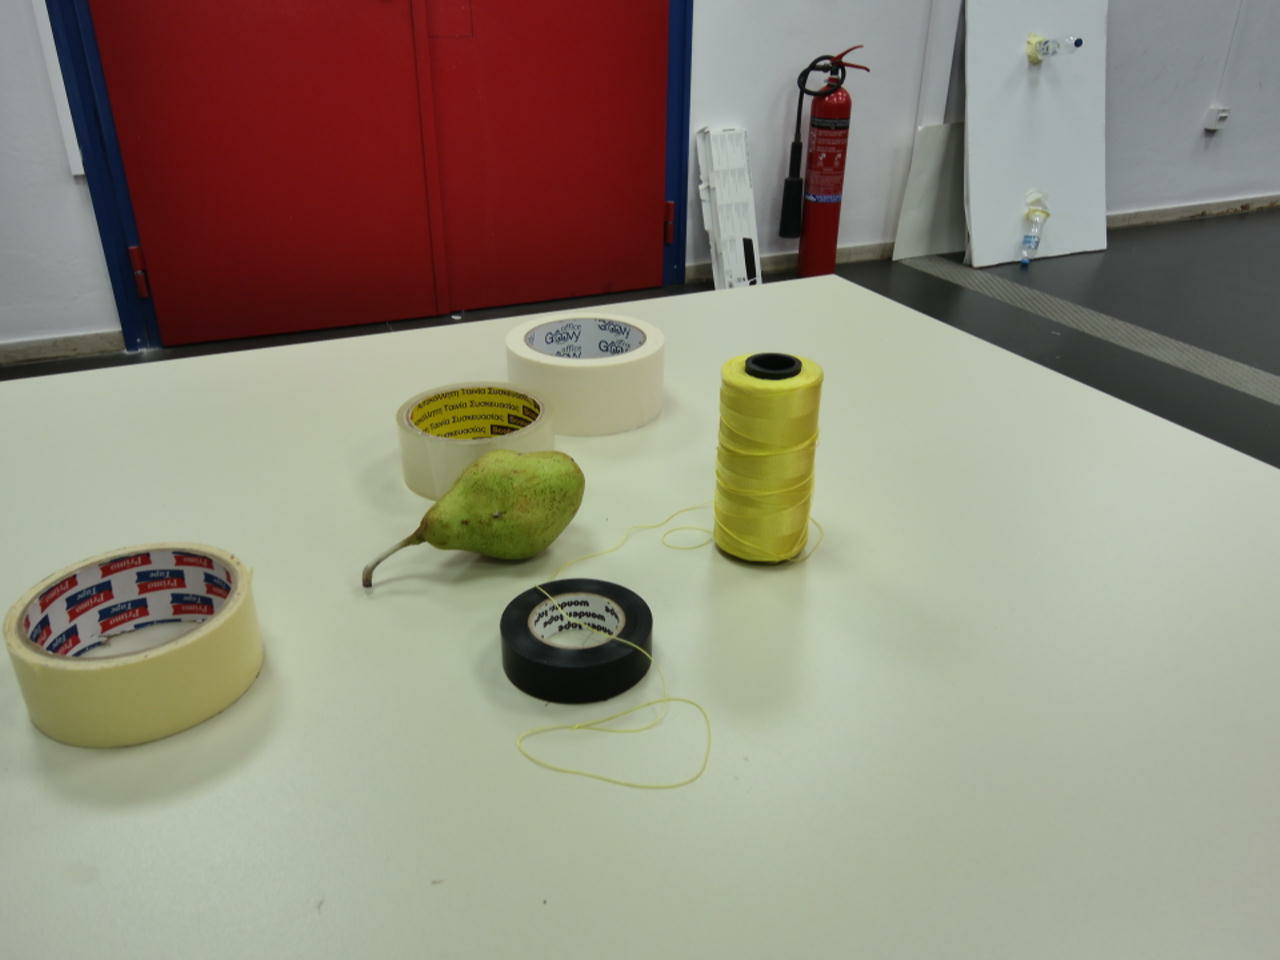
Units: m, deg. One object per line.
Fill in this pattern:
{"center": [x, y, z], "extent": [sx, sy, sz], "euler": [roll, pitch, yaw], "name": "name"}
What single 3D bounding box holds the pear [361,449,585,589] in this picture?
{"center": [-0.083, 0.014, 0.496], "extent": [0.111, 0.056, 0.056], "euler": [-5, 26, -9], "name": "pear"}
